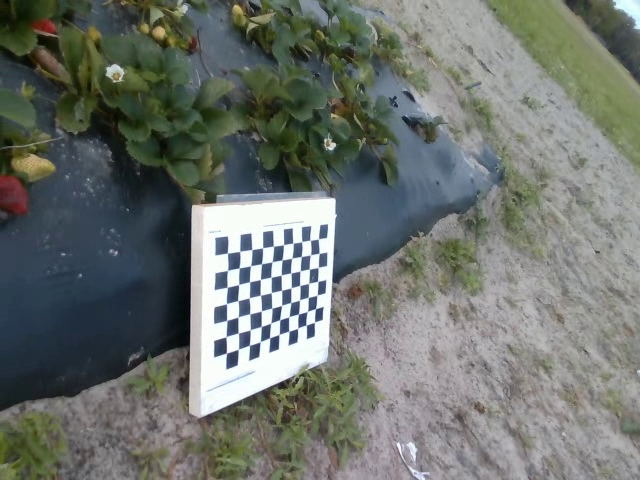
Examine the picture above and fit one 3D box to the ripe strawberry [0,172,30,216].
[{"bbox_3d":[-0.305,-0.041,0.606,0.059,0.046,0.046,32,28,28],"label":"ripe strawberry"}]
